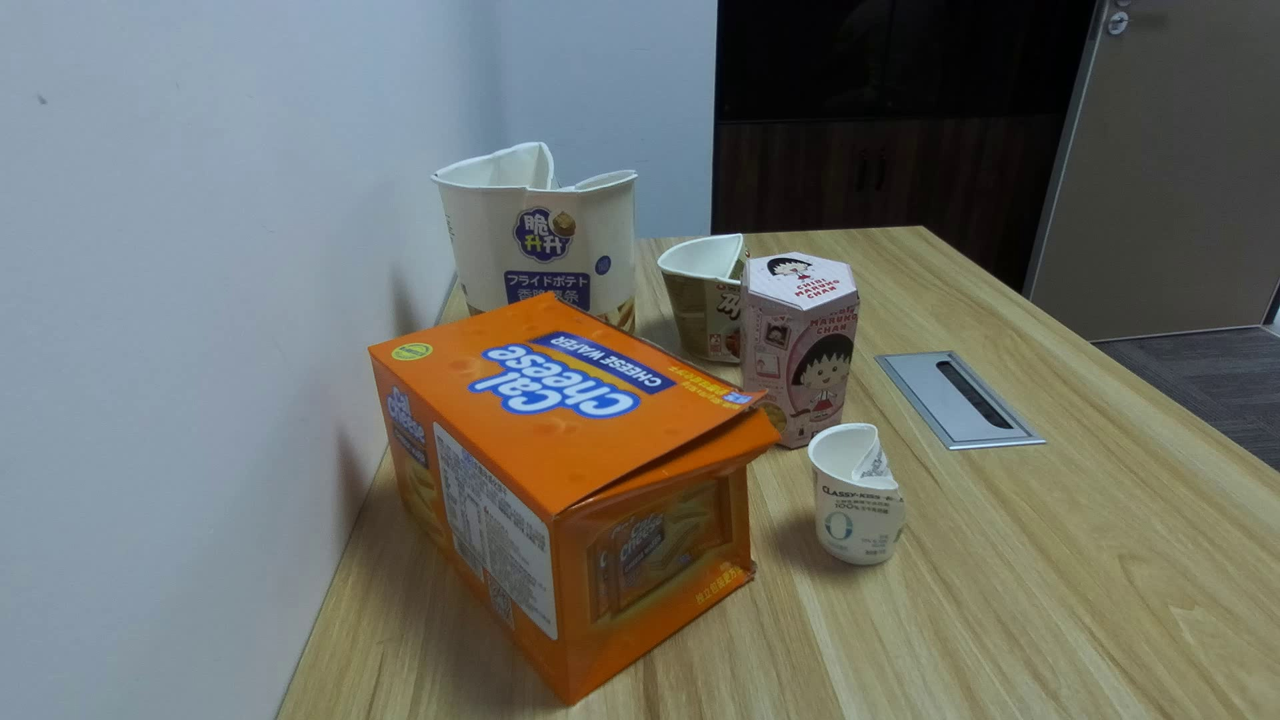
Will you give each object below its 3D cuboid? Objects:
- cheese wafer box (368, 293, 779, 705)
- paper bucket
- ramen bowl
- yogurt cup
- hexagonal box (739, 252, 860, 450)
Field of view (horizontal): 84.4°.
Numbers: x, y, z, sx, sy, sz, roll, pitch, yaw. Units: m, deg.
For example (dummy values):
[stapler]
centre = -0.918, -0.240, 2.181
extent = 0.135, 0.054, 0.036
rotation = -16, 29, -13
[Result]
[cheese wafer box]
centre = -0.047, 0.061, 0.447
extent = 0.150, 0.137, 0.226
rotation = -22, 34, -33
[paper bucket]
centre = -0.072, -0.081, 0.649
extent = 0.162, 0.202, 0.169
rotation = 15, 33, 25
[ramen bowl]
centre = 0.087, -0.063, 0.708
extent = 0.137, 0.098, 0.137
rotation = -1, 26, 1
[yogurt cup]
centre = 0.138, 0.087, 0.450
extent = 0.067, 0.070, 0.067
rotation = -1, 31, 1
[hexagonal box]
centre = 0.122, -0.008, 0.562
extent = 0.092, 0.135, 0.084
rotation = -12, 30, -20
